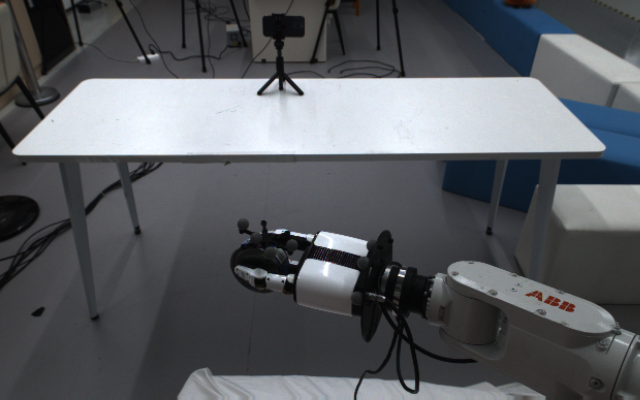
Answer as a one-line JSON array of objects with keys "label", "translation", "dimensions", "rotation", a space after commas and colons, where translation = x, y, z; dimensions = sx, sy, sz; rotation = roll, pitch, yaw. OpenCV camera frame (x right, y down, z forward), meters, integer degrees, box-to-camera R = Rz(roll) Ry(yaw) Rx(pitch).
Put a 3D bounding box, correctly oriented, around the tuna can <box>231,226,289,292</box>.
[{"label": "tuna can", "translation": [-0.089, 0.099, 0.737], "dimensions": [0.085, 0.085, 0.034], "rotation": [13, 30, 15]}]
